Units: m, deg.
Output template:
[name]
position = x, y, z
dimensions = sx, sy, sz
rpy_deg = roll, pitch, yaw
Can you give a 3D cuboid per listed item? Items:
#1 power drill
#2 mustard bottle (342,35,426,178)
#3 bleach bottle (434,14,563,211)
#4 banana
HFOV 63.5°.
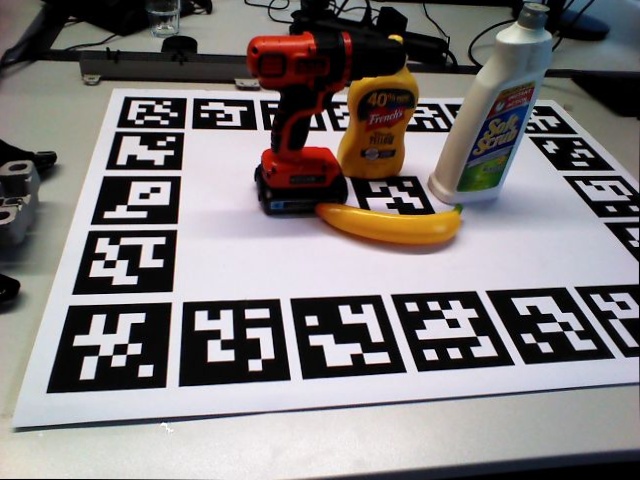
[power drill]
position = 0.000, -0.144, 0.614
dimensions = 0.184, 0.188, 0.057
rpy_deg = -1, 37, -14
[mustard bottle]
position = 0.090, -0.174, 0.687
dimensions = 0.096, 0.192, 0.058
rpy_deg = 0, 43, -11
[bleach bottle]
position = 0.228, -0.152, 0.653
dimensions = 0.102, 0.252, 0.067
rpy_deg = -7, 46, -16
[banana]
position = 0.107, -0.022, 0.636
dimensions = 0.197, 0.039, 0.074
rpy_deg = 0, 47, -6
